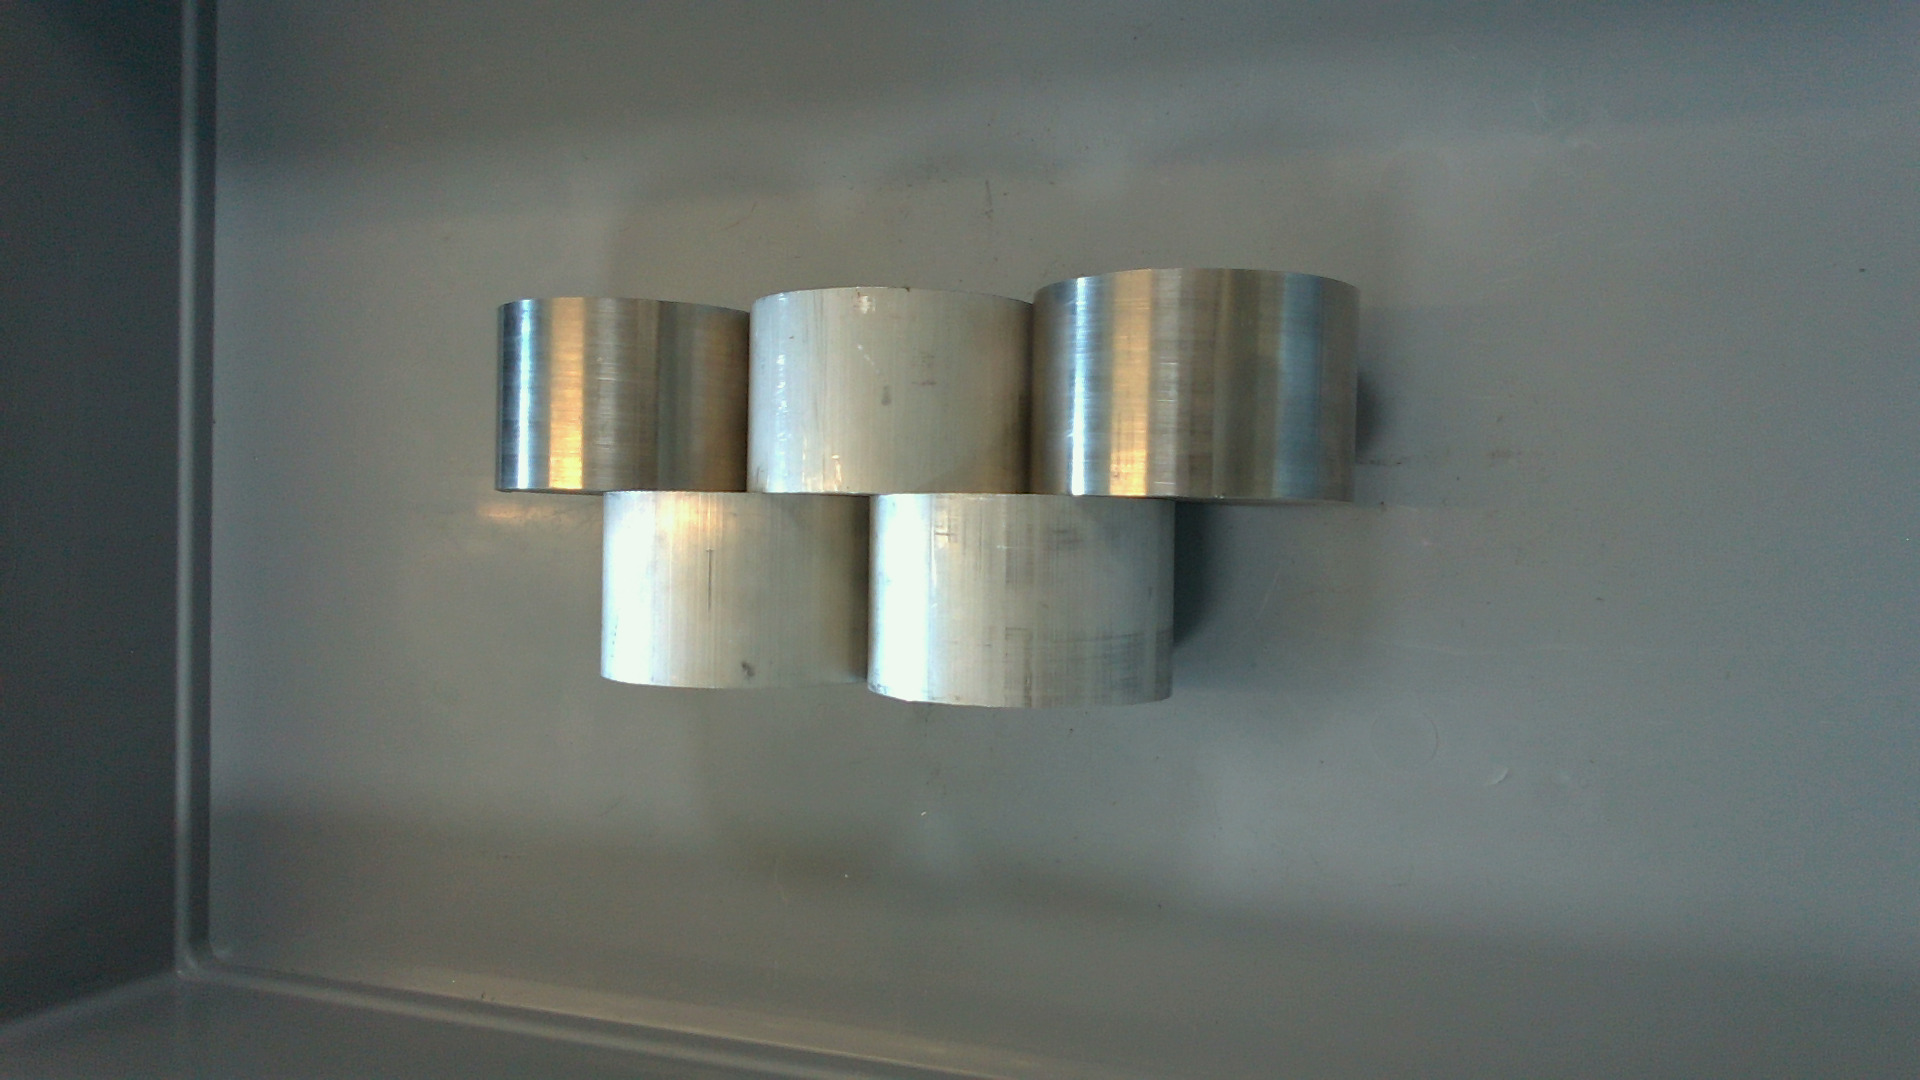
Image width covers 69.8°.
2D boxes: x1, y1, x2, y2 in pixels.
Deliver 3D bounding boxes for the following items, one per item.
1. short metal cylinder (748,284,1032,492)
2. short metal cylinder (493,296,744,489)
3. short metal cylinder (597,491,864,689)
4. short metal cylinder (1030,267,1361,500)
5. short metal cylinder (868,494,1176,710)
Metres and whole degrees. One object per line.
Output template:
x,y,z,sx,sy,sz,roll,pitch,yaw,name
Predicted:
-0.017,-0.037,0.371,0.080,0.080,0.050,1,90,20,short metal cylinder
-0.093,-0.039,0.399,0.080,0.080,0.050,1,90,20,short metal cylinder
-0.061,0.012,0.387,0.080,0.080,0.050,1,90,20,short metal cylinder
0.058,-0.036,0.344,0.080,0.080,0.050,2,91,20,short metal cylinder
0.016,0.014,0.360,0.080,0.080,0.050,1,90,20,short metal cylinder
